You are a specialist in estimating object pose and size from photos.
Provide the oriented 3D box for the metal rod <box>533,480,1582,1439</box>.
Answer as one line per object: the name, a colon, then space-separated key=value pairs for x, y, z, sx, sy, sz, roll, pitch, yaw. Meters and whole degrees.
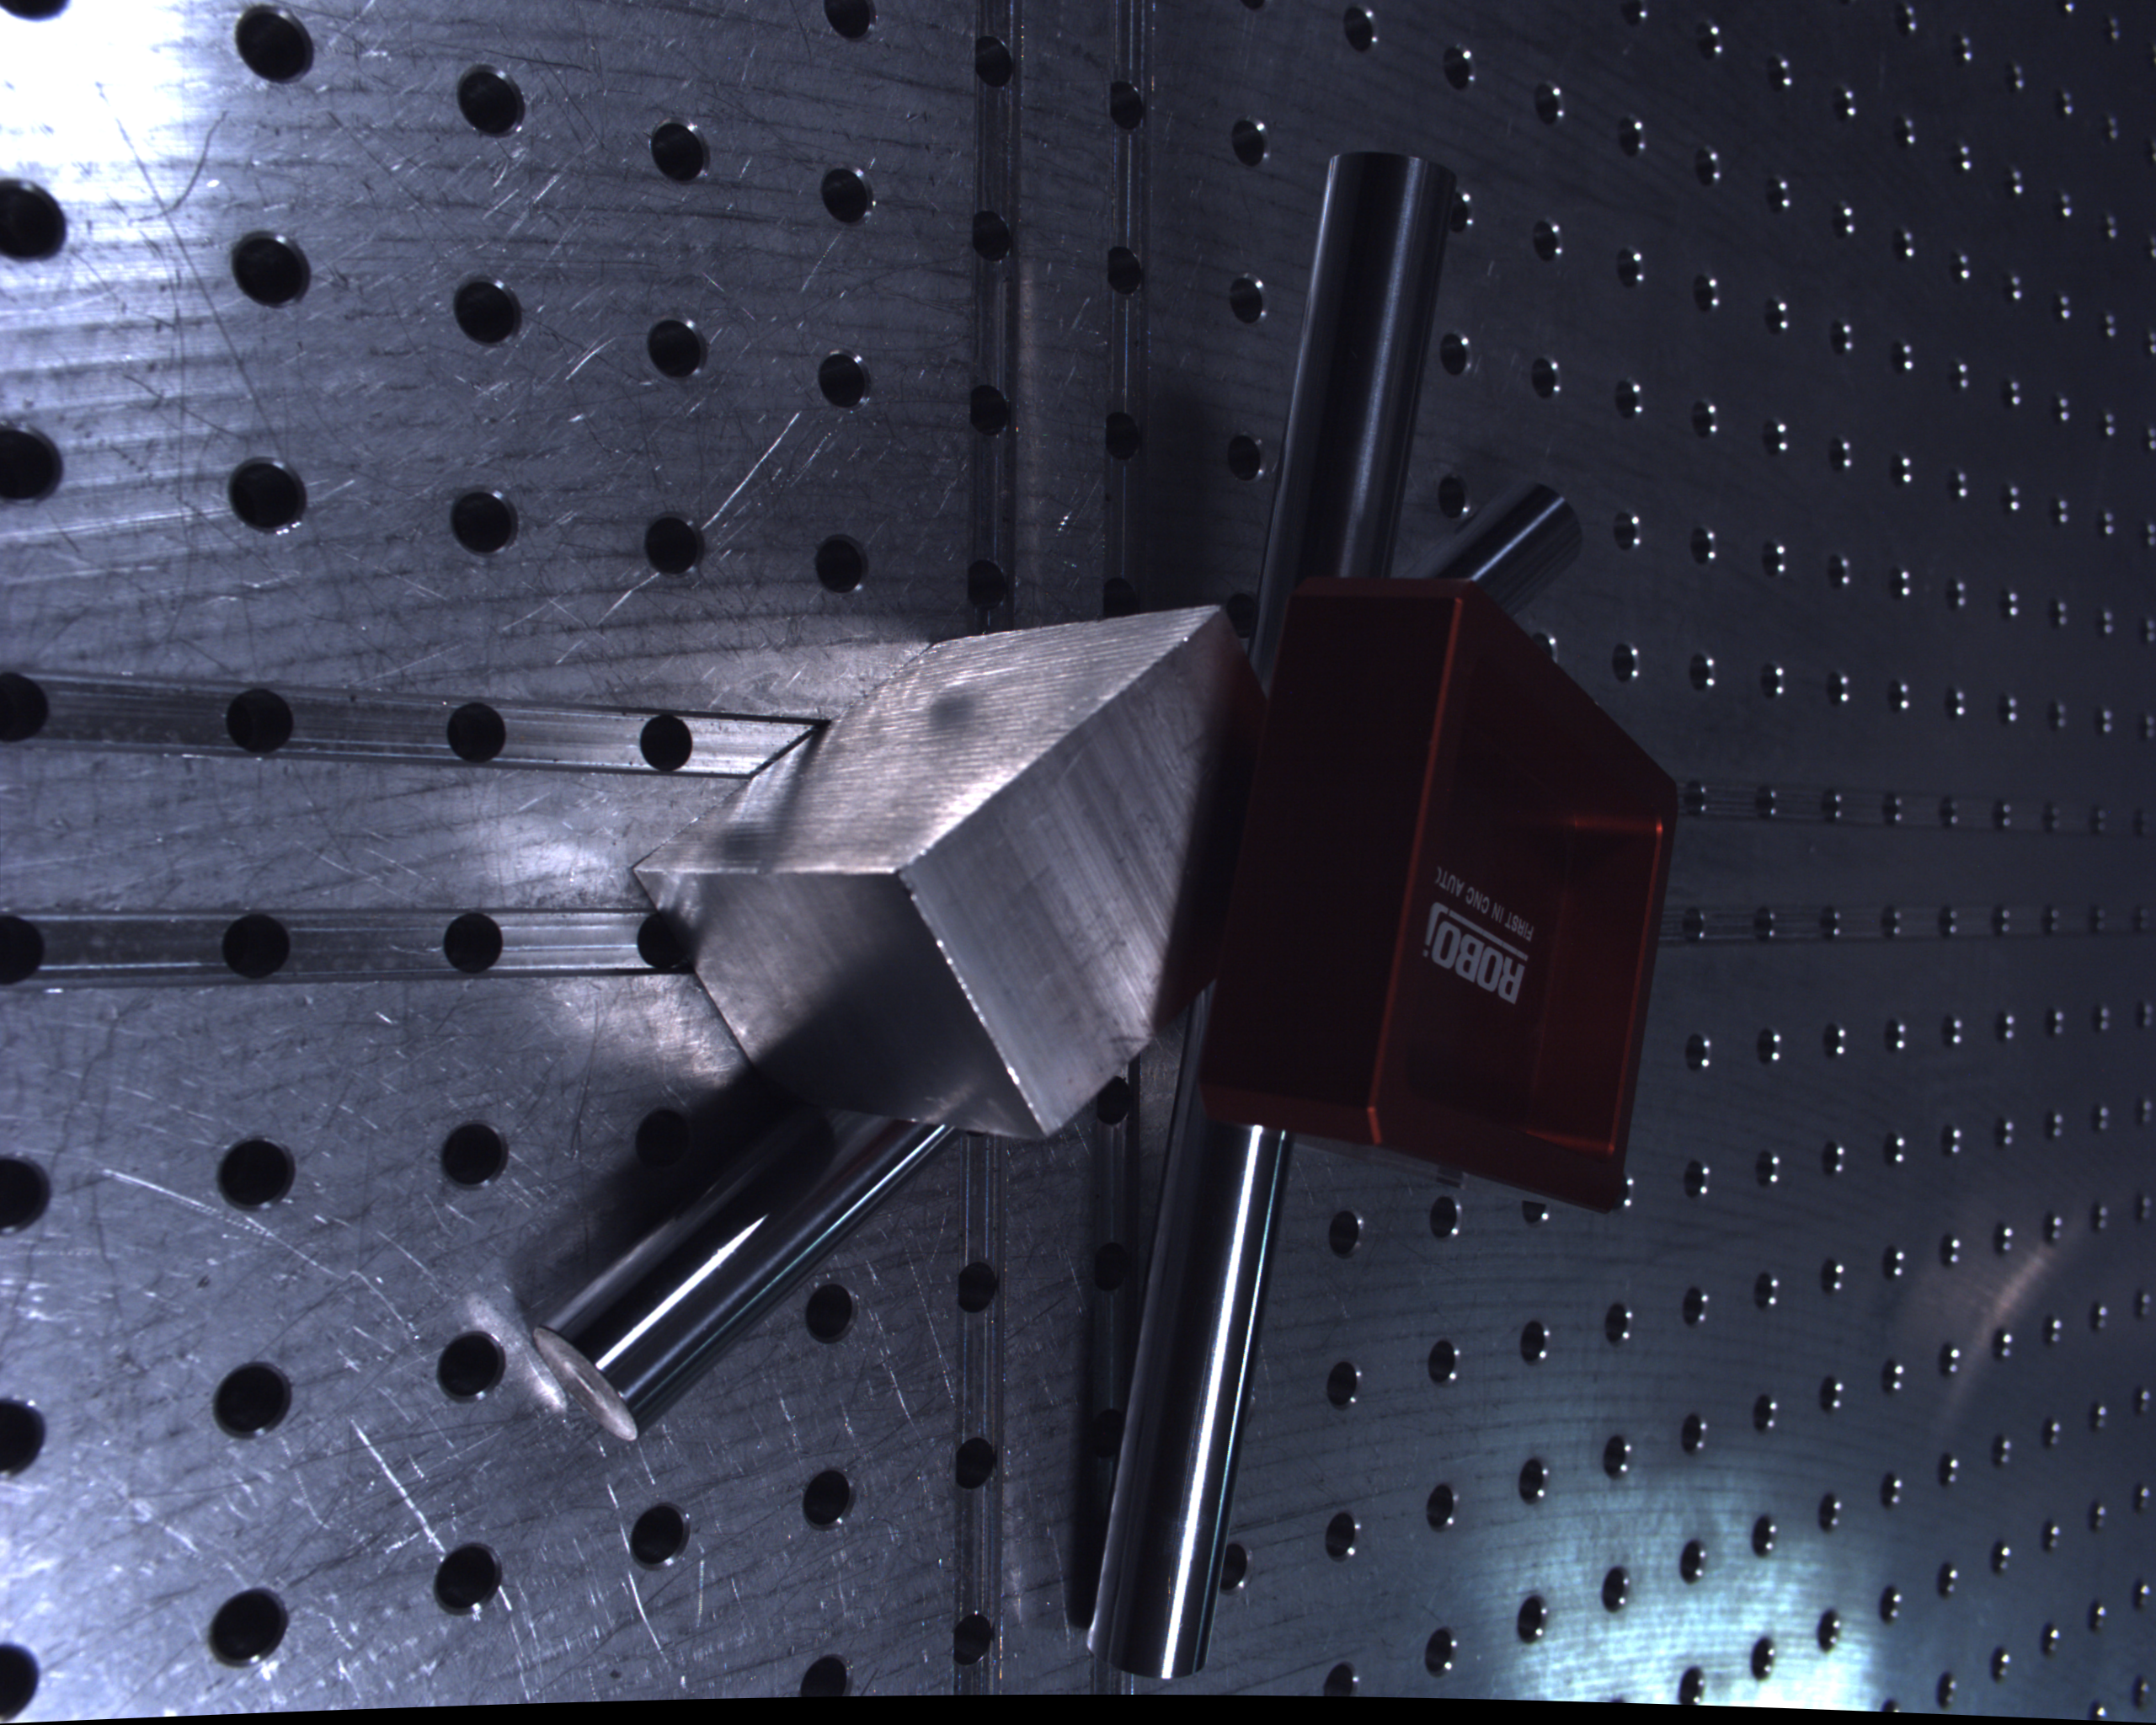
metal rod: x=0.015 y=0.002 z=0.424 sx=0.302 sy=0.025 sz=0.025 roll=-41 pitch=115 yaw=-32

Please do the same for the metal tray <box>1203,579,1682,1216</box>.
metal tray: x=0.072 y=0.012 z=0.376 sx=0.130 sy=0.030 sz=0.090 roll=25 pitch=74 yaw=-57

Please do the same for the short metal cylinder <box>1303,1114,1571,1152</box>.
short metal cylinder: x=0.072 y=0.026 z=0.454 sx=0.081 sy=0.050 sz=0.079 roll=0 pitch=90 yaw=-40

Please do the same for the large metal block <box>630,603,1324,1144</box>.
large metal block: x=-0.015 y=0.000 z=0.361 sx=0.080 sy=0.080 sz=0.050 roll=-41 pitch=116 yaw=-32

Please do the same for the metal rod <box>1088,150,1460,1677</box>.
metal rod: x=0.038 y=0.013 z=0.413 sx=0.025 sy=0.025 sz=0.298 roll=5 pitch=96 yaw=-40
